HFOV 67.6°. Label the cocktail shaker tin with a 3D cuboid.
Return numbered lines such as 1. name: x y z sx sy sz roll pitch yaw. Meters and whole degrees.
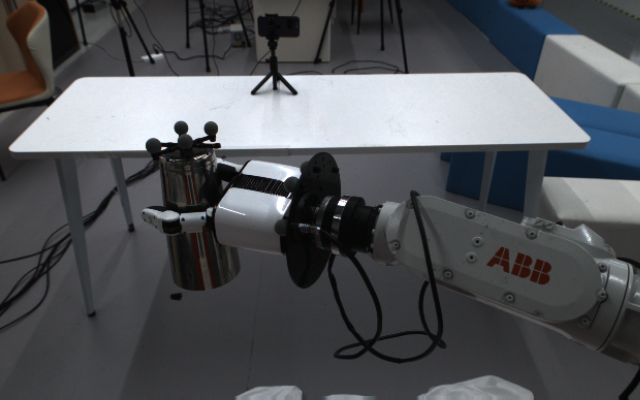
1. cocktail shaker tin: -0.155 0.019 0.617 0.093 0.170 0.093 -2 26 1
